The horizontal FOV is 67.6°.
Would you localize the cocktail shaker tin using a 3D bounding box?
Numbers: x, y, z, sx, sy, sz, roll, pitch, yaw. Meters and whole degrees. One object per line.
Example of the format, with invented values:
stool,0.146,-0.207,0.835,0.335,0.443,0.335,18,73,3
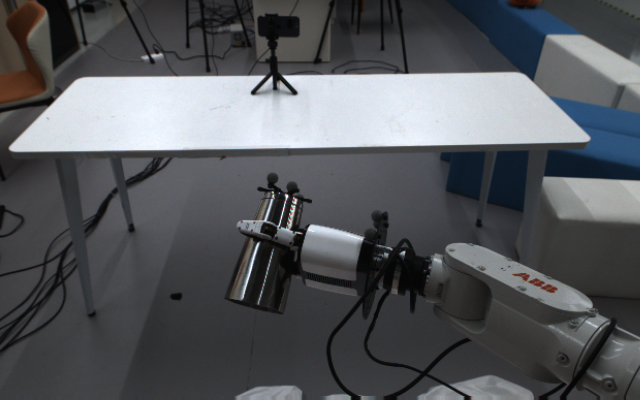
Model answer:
cocktail shaker tin,-0.077,0.078,0.734,0.093,0.093,0.170,10,71,12
